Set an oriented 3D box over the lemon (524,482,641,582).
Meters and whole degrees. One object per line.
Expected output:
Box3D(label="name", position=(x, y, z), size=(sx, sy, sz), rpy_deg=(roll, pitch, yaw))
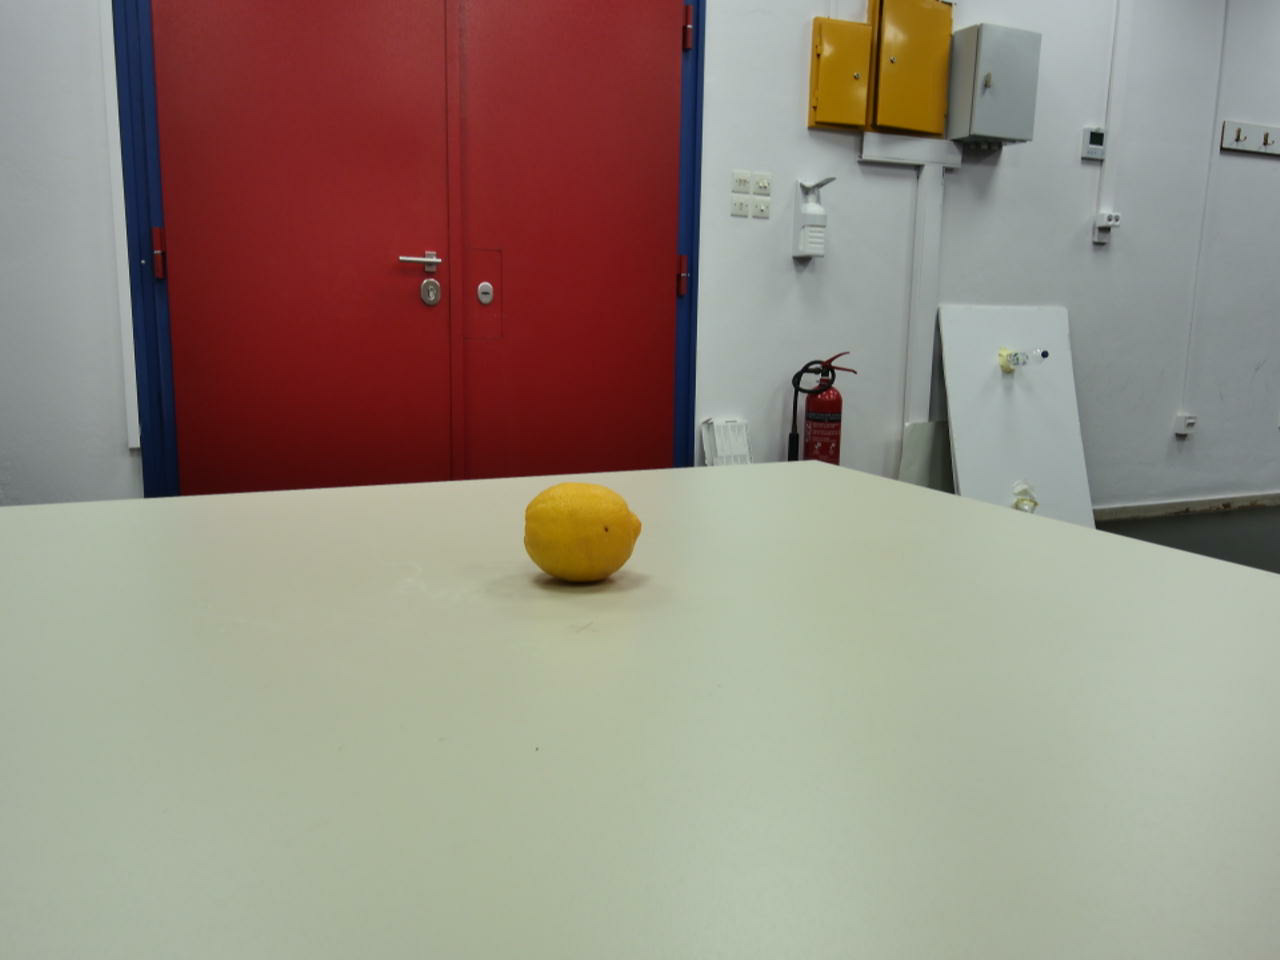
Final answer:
Box3D(label="lemon", position=(-0.036, 0.031, 0.599), size=(0.067, 0.059, 0.060), rpy_deg=(3, 8, 17))
